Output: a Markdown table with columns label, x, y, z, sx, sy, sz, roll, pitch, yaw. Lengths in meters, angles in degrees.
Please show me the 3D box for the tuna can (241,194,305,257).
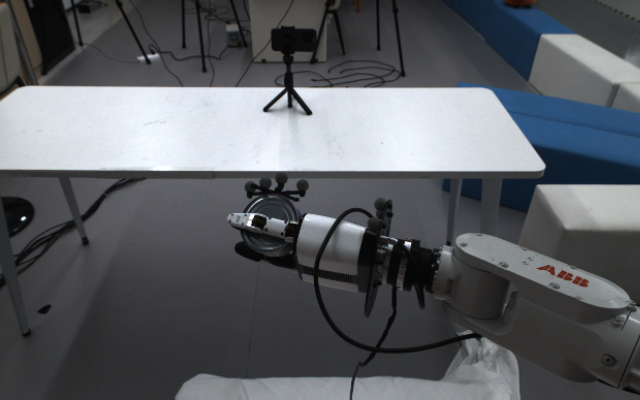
| label | x | y | z | sx | sy | sz | roll | pitch | yaw |
| --- | --- | --- | --- | --- | --- | --- | --- | --- | --- |
| tuna can | -0.066 | 0.036 | 0.678 | 0.085 | 0.034 | 0.085 | -5 | 70 | 14 |
